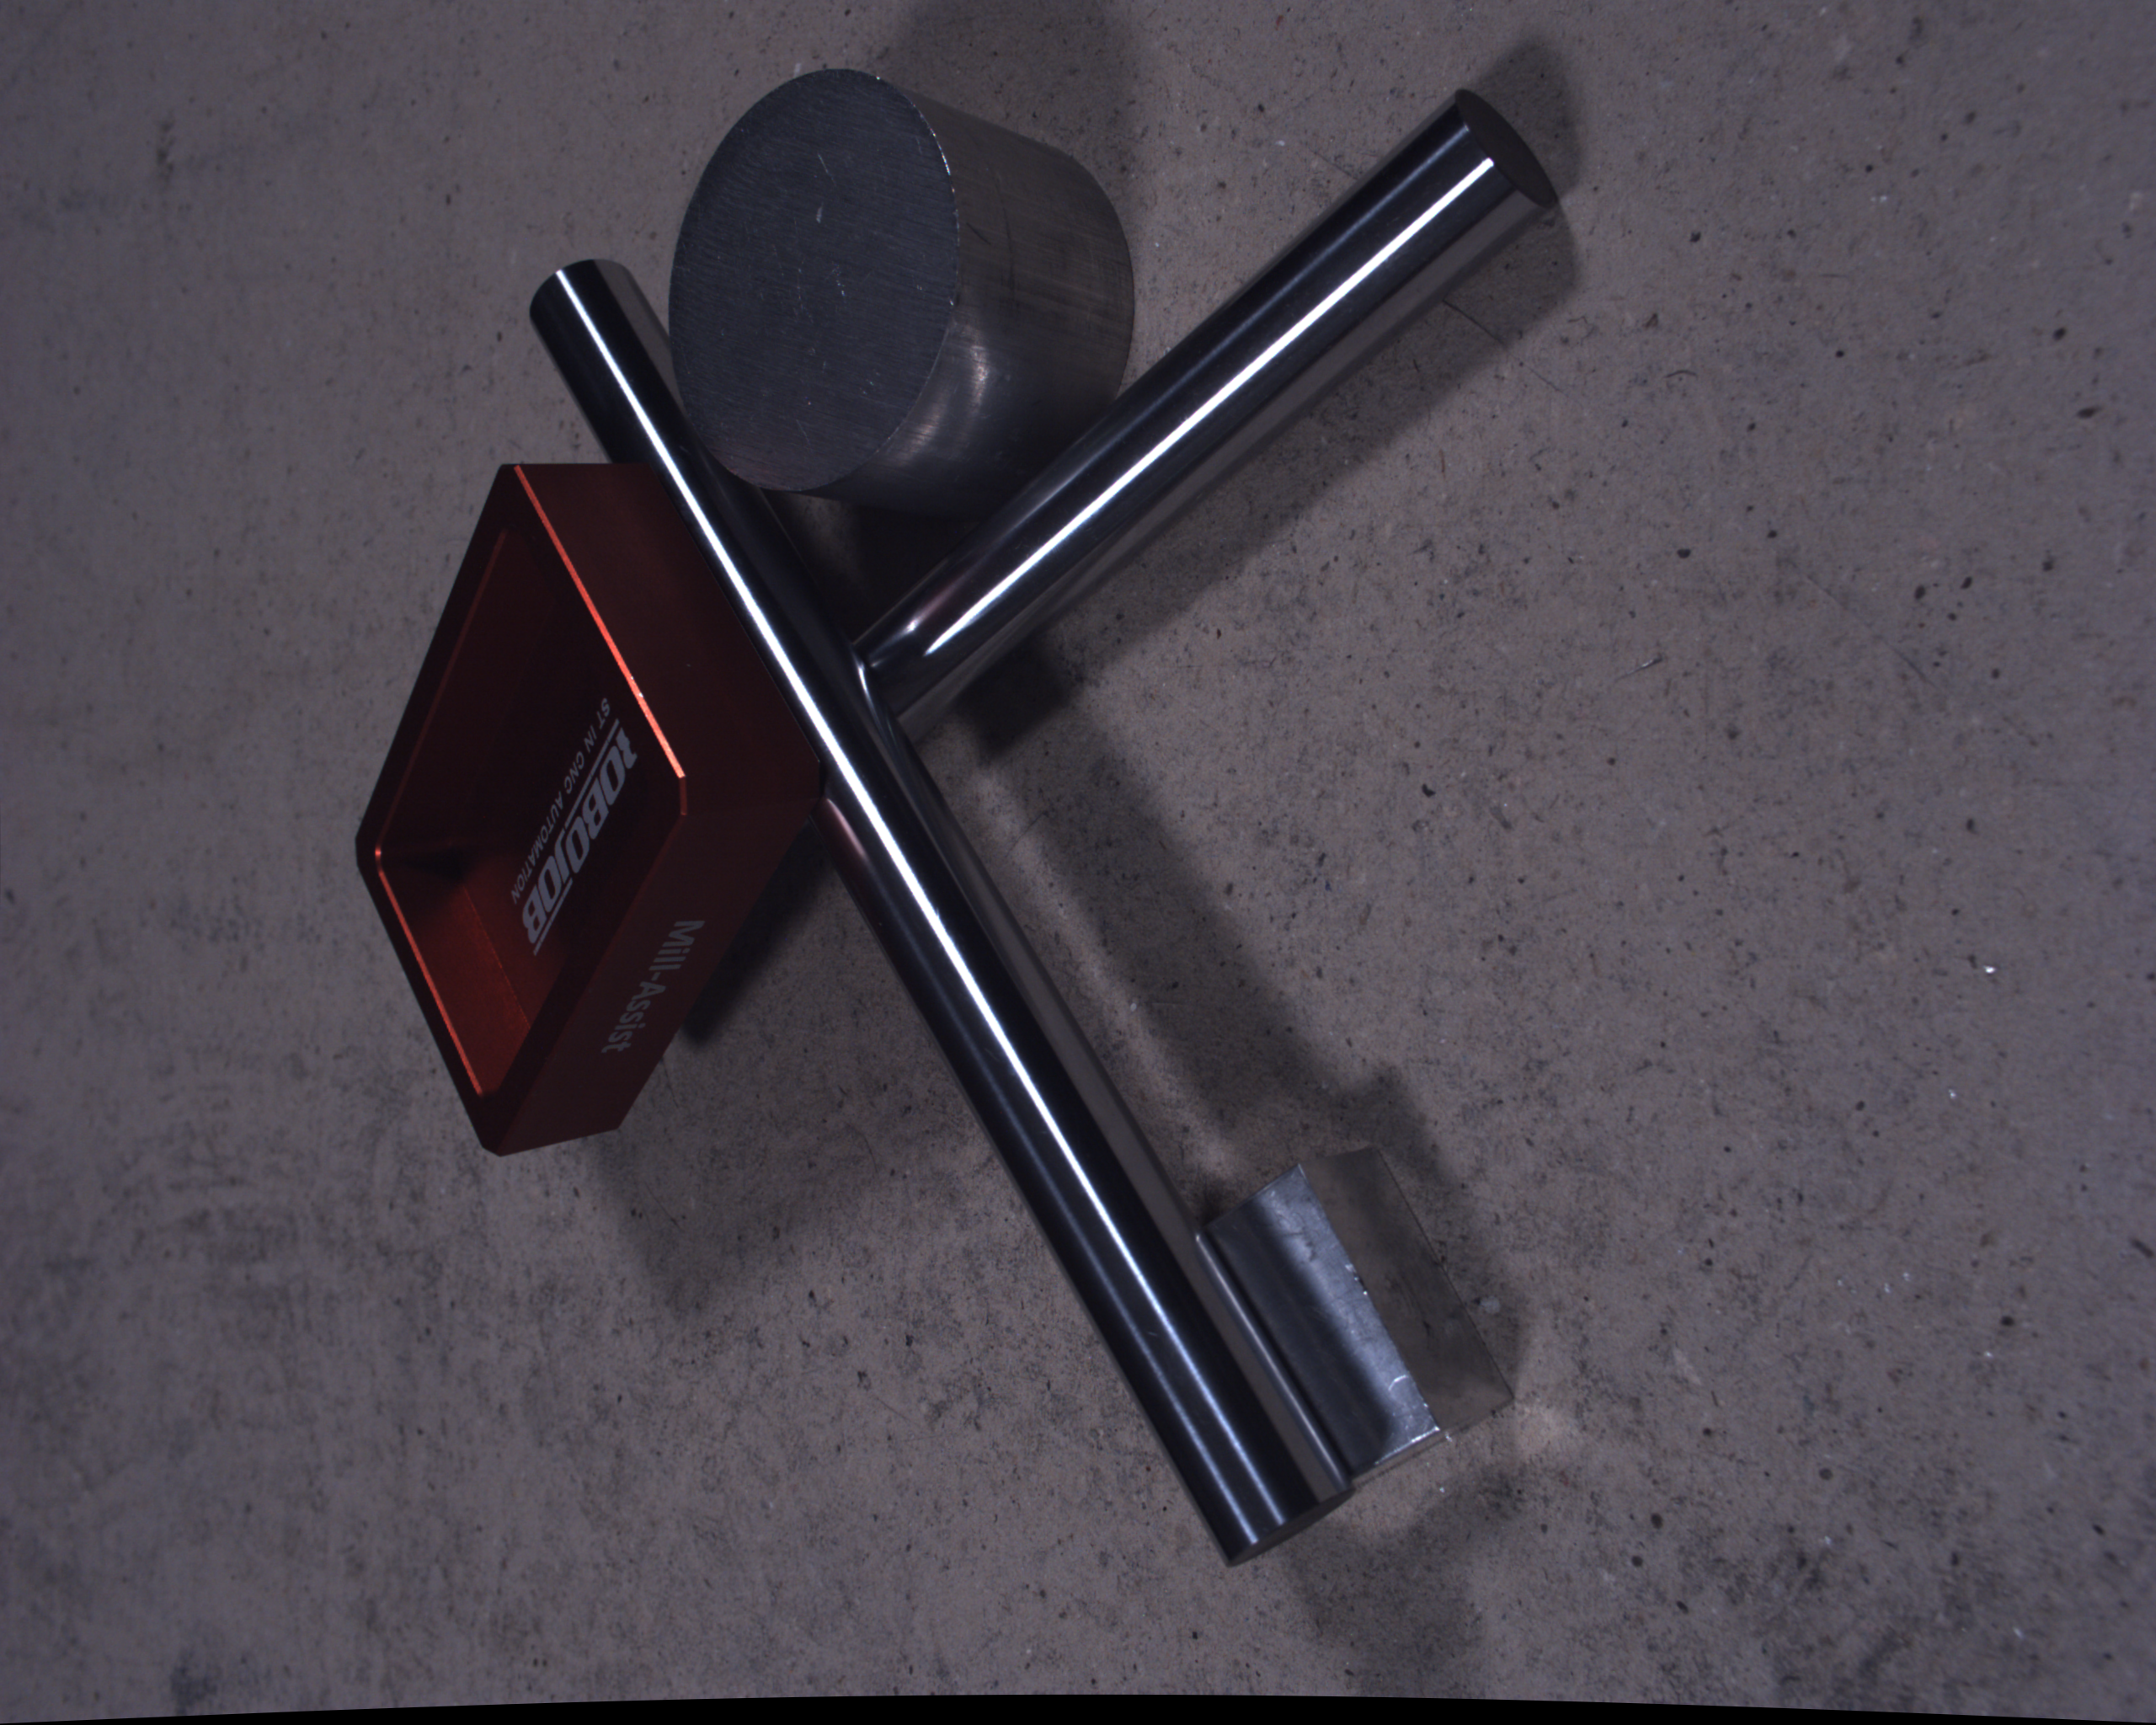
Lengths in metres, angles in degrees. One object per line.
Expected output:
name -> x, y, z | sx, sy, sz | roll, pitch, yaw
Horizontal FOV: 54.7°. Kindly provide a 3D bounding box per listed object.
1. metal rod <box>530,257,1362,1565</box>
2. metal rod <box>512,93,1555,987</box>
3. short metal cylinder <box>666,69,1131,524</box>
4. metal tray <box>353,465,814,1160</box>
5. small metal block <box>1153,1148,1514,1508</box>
metal rod -> -0.037, -0.008, 0.403 | 0.025, 0.025, 0.299 | -46, 63, 30
metal rod -> -0.029, -0.044, 0.429 | 0.299, 0.025, 0.025 | -36, 68, 33
short metal cylinder -> -0.037, -0.111, 0.417 | 0.080, 0.050, 0.079 | 0, 90, 39
metal tray -> -0.110, -0.009, 0.441 | 0.090, 0.030, 0.129 | 58, 135, 24
small metal block -> 0.040, 0.086, 0.371 | 0.050, 0.025, 0.050 | -41, 66, 32
